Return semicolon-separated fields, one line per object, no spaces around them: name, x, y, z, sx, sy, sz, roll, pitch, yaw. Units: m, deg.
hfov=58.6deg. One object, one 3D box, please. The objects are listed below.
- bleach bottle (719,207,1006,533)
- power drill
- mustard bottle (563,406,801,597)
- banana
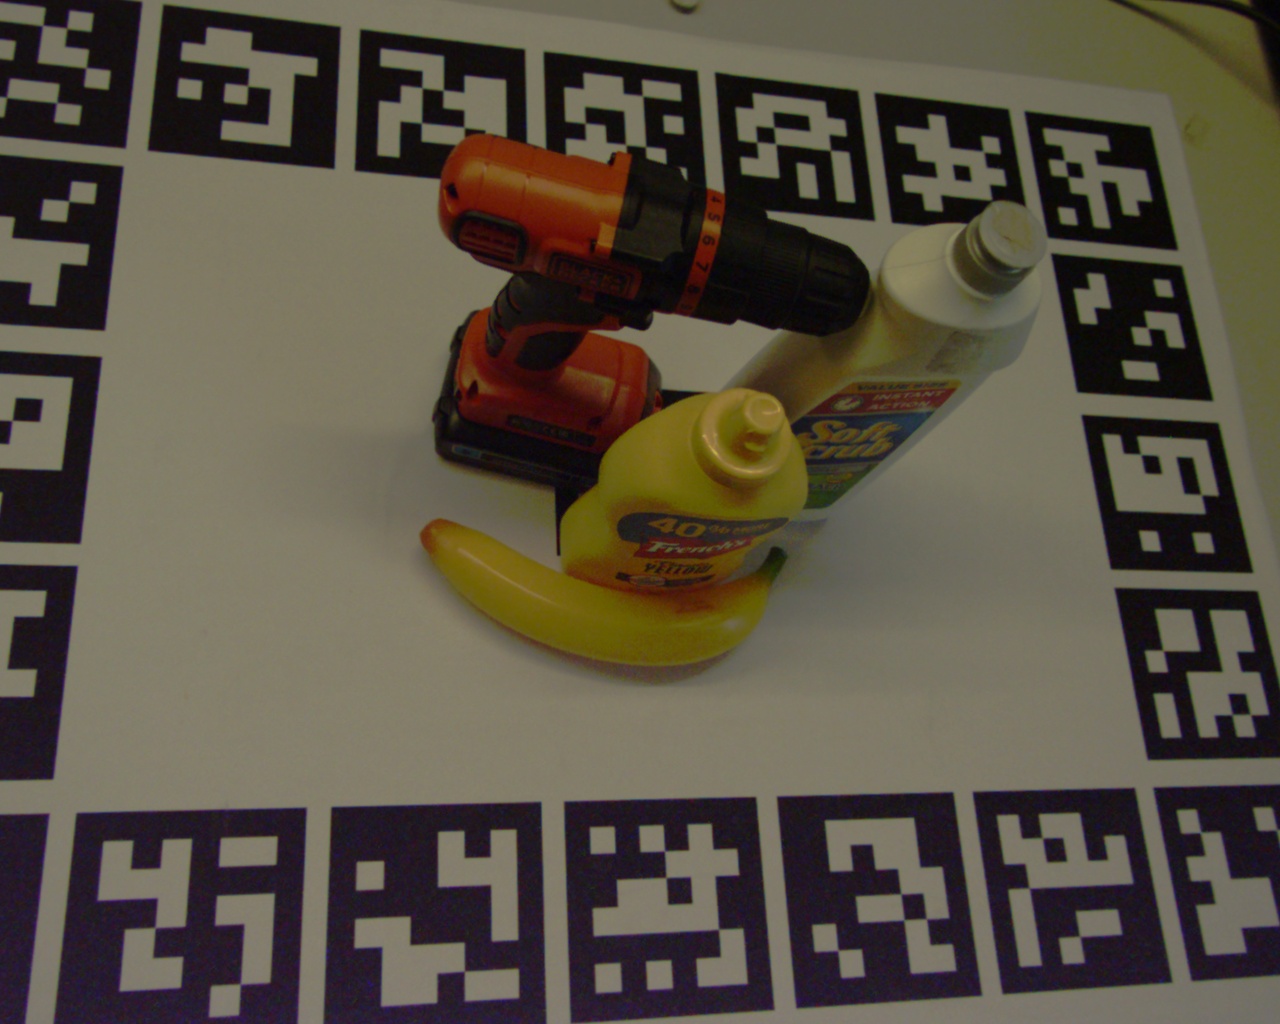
bleach bottle;0.098;-0.065;0.575;0.102;0.251;0.068;5;66;-13
power drill;-0.011;-0.082;0.558;0.183;0.188;0.057;15;68;-11
mustard bottle;0.025;-0.006;0.564;0.095;0.192;0.058;3;72;-14
banana;-0.014;0.047;0.629;0.196;0.039;0.074;7;72;-9
